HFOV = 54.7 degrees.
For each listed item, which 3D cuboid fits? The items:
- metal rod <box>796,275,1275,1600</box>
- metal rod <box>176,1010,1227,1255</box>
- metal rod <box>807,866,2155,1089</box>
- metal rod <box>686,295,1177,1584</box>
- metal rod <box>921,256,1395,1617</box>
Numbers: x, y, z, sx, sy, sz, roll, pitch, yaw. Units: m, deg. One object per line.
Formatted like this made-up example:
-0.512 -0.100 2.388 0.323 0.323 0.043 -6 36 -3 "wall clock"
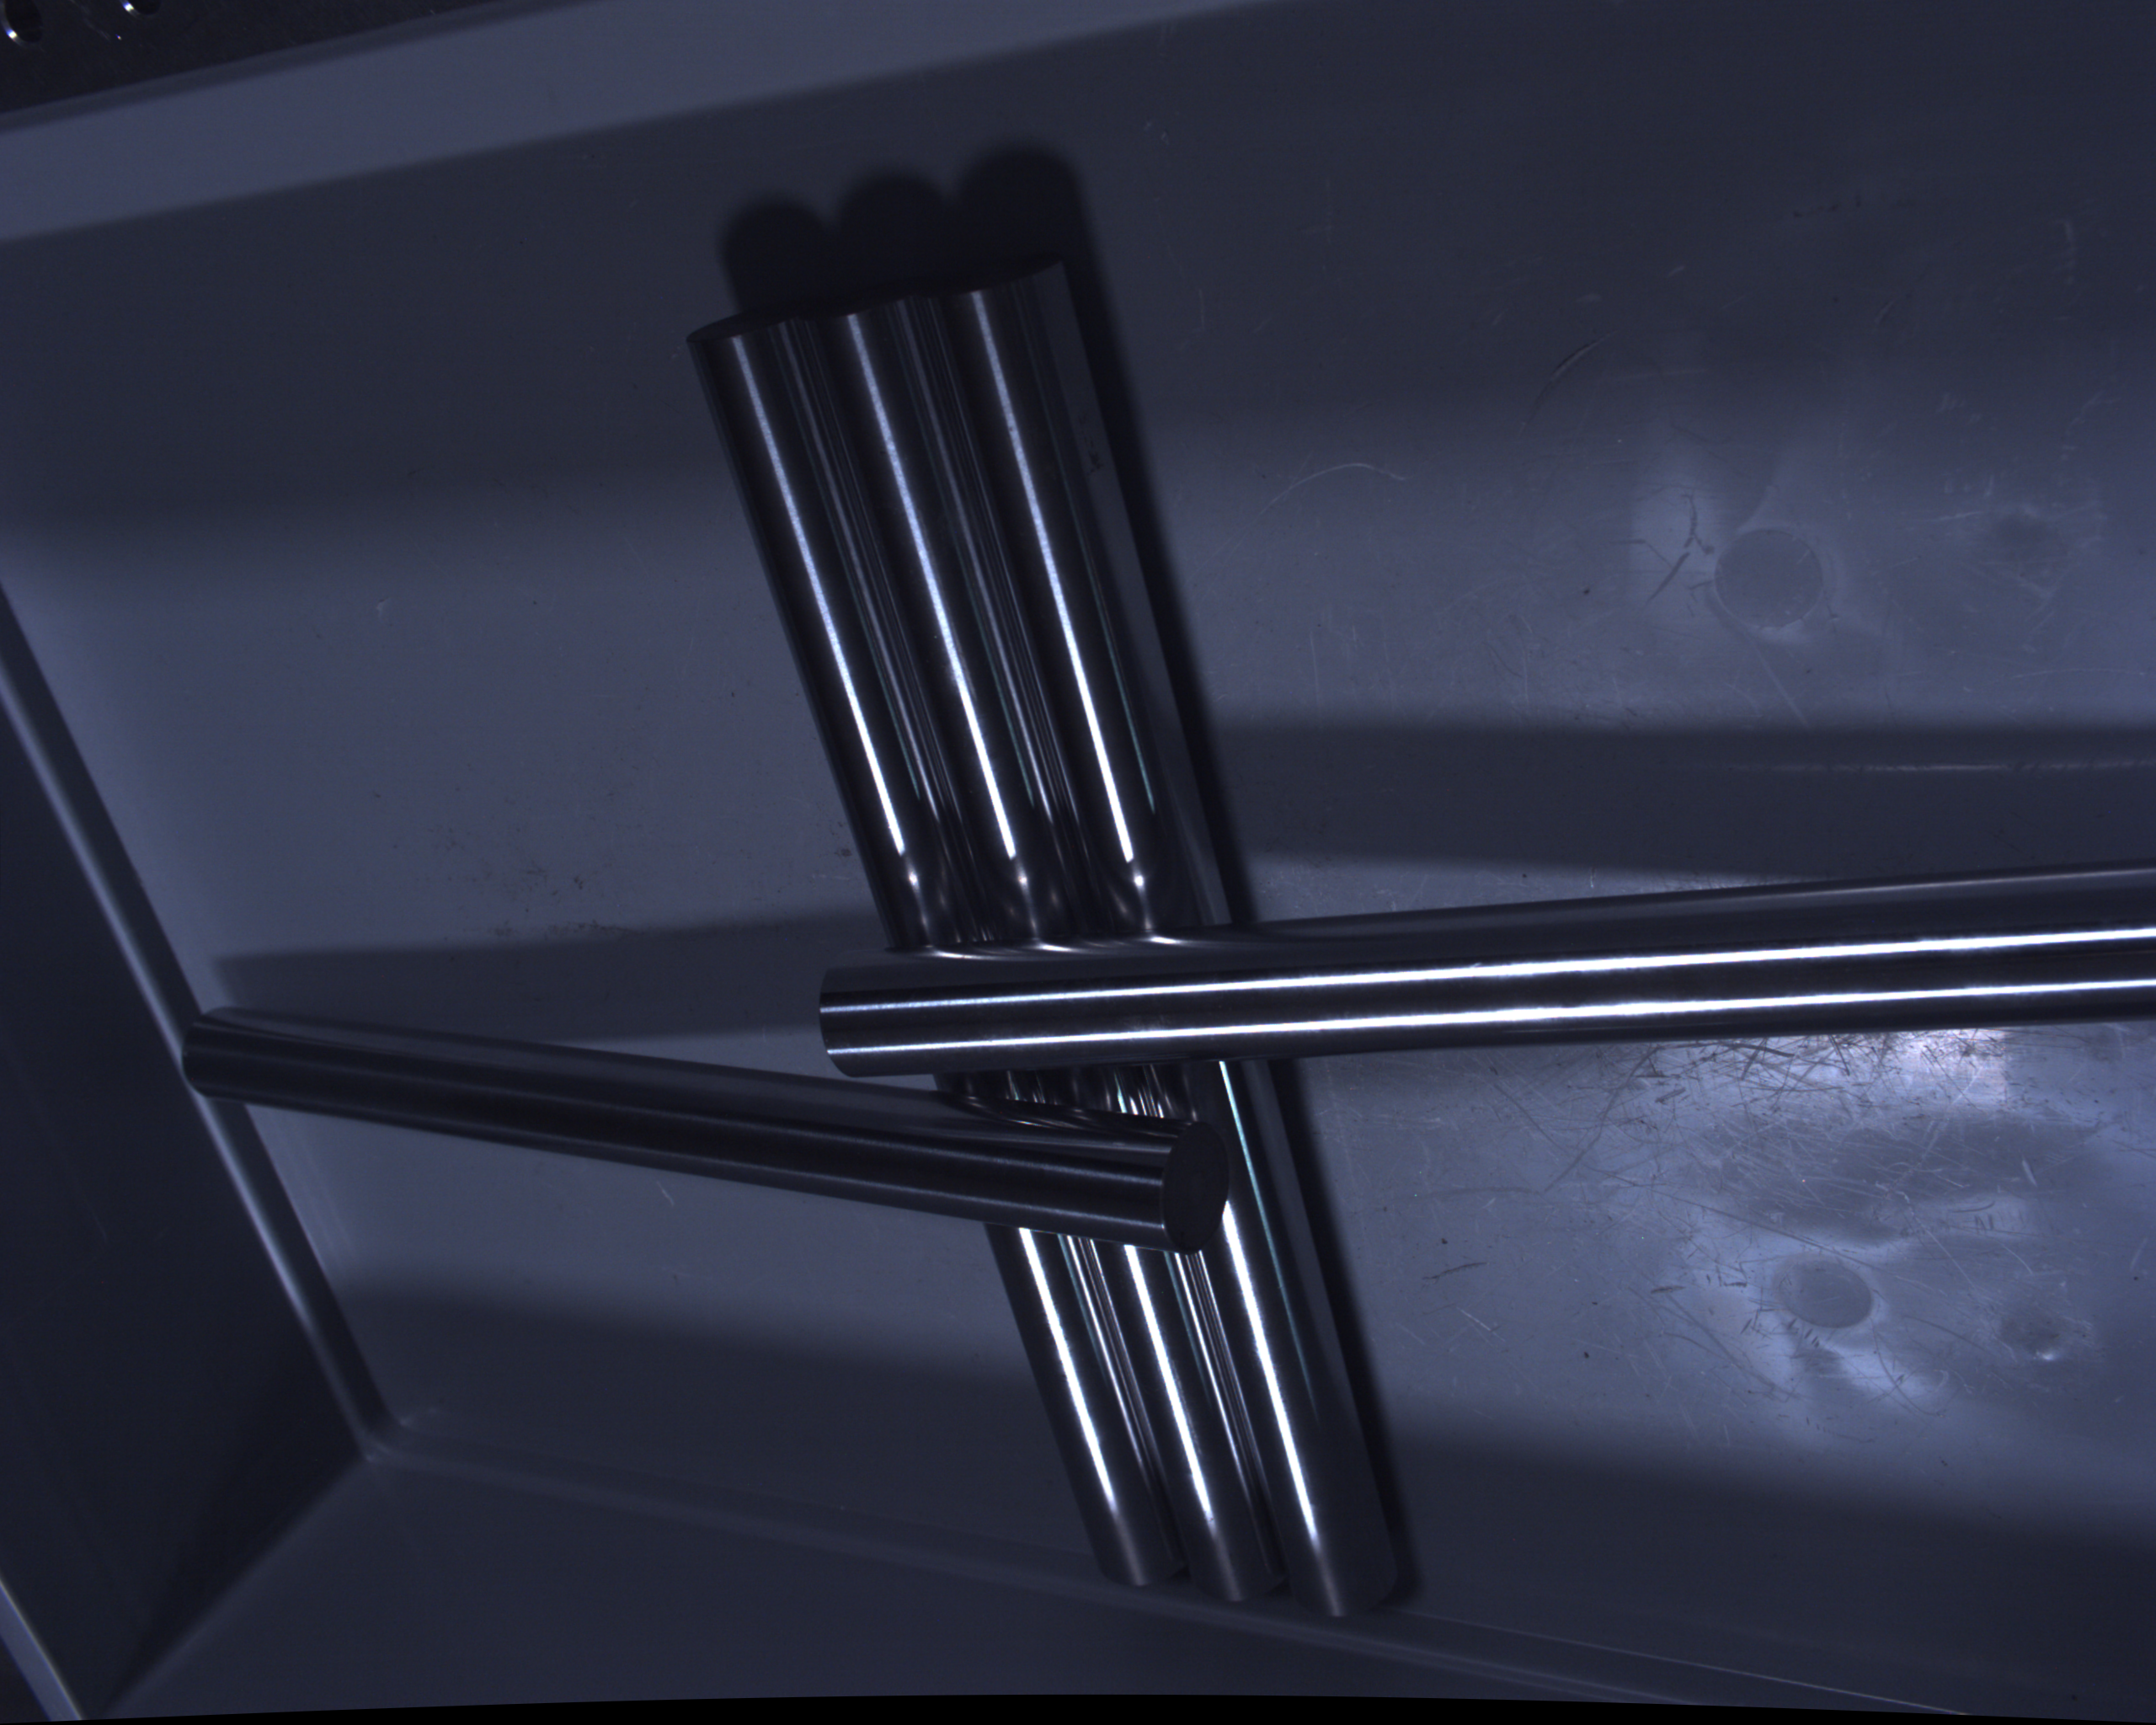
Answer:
0.000 0.032 0.425 0.025 0.025 0.298 -2 118 28 "metal rod"
-0.104 0.056 0.473 0.300 0.025 0.025 2 120 33 "metal rod"
0.092 0.019 0.347 0.301 0.025 0.025 -5 116 23 "metal rod"
-0.022 0.032 0.437 0.025 0.025 0.298 -2 118 28 "metal rod"
0.023 0.031 0.413 0.025 0.025 0.298 -2 118 28 "metal rod"
